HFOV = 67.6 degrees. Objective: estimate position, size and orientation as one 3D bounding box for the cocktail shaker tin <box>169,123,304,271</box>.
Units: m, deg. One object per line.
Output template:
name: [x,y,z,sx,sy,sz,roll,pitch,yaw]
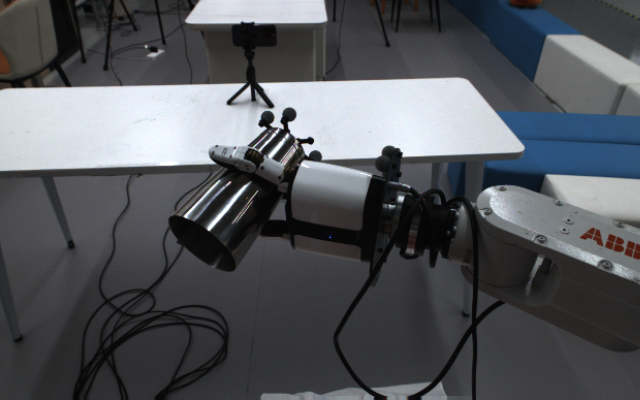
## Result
cocktail shaker tin: [-0.086,-0.013,0.575,0.093,0.093,0.170,19,55,22]
